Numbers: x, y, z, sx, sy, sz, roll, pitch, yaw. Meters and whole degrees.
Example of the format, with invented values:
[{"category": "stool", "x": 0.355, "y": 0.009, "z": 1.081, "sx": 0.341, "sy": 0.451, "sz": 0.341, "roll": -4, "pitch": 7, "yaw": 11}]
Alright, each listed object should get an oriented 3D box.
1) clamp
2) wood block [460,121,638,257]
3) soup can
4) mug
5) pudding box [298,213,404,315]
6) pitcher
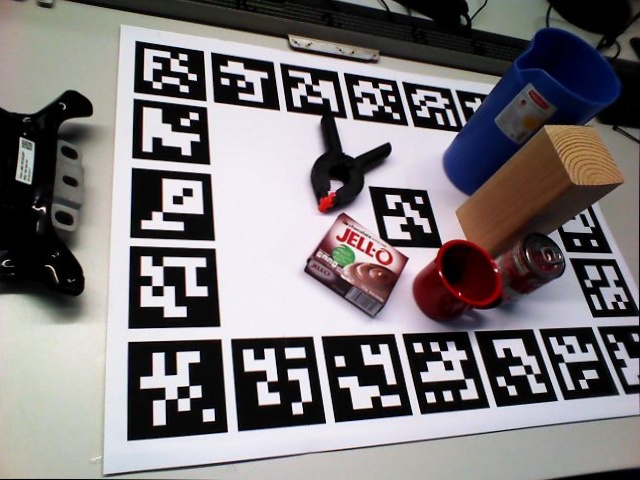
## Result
[{"category": "clamp", "x": 0.040, "y": -0.108, "z": 0.752, "sx": 0.122, "sy": 0.037, "sz": 0.164, "roll": 31, "pitch": 56, "yaw": -10}, {"category": "wood block", "x": 0.299, "y": -0.056, "z": 0.704, "sx": 0.089, "sy": 0.208, "sz": 0.090, "roll": 1, "pitch": 61, "yaw": -24}, {"category": "soup can", "x": 0.277, "y": 0.047, "z": 0.701, "sx": 0.068, "sy": 0.103, "sz": 0.067, "roll": 8, "pitch": 61, "yaw": -16}, {"category": "mug", "x": 0.189, "y": 0.066, "z": 0.671, "sx": 0.117, "sy": 0.082, "sz": 0.092, "roll": 33, "pitch": 53, "yaw": 1}, {"category": "pudding box", "x": 0.042, "y": 0.030, "z": 0.667, "sx": 0.114, "sy": 0.039, "sz": 0.089, "roll": 34, "pitch": 59, "yaw": 2}, {"category": "pitcher", "x": 0.311, "y": -0.169, "z": 0.755, "sx": 0.188, "sy": 0.244, "sz": 0.132, "roll": 1, "pitch": 59, "yaw": -17}]
